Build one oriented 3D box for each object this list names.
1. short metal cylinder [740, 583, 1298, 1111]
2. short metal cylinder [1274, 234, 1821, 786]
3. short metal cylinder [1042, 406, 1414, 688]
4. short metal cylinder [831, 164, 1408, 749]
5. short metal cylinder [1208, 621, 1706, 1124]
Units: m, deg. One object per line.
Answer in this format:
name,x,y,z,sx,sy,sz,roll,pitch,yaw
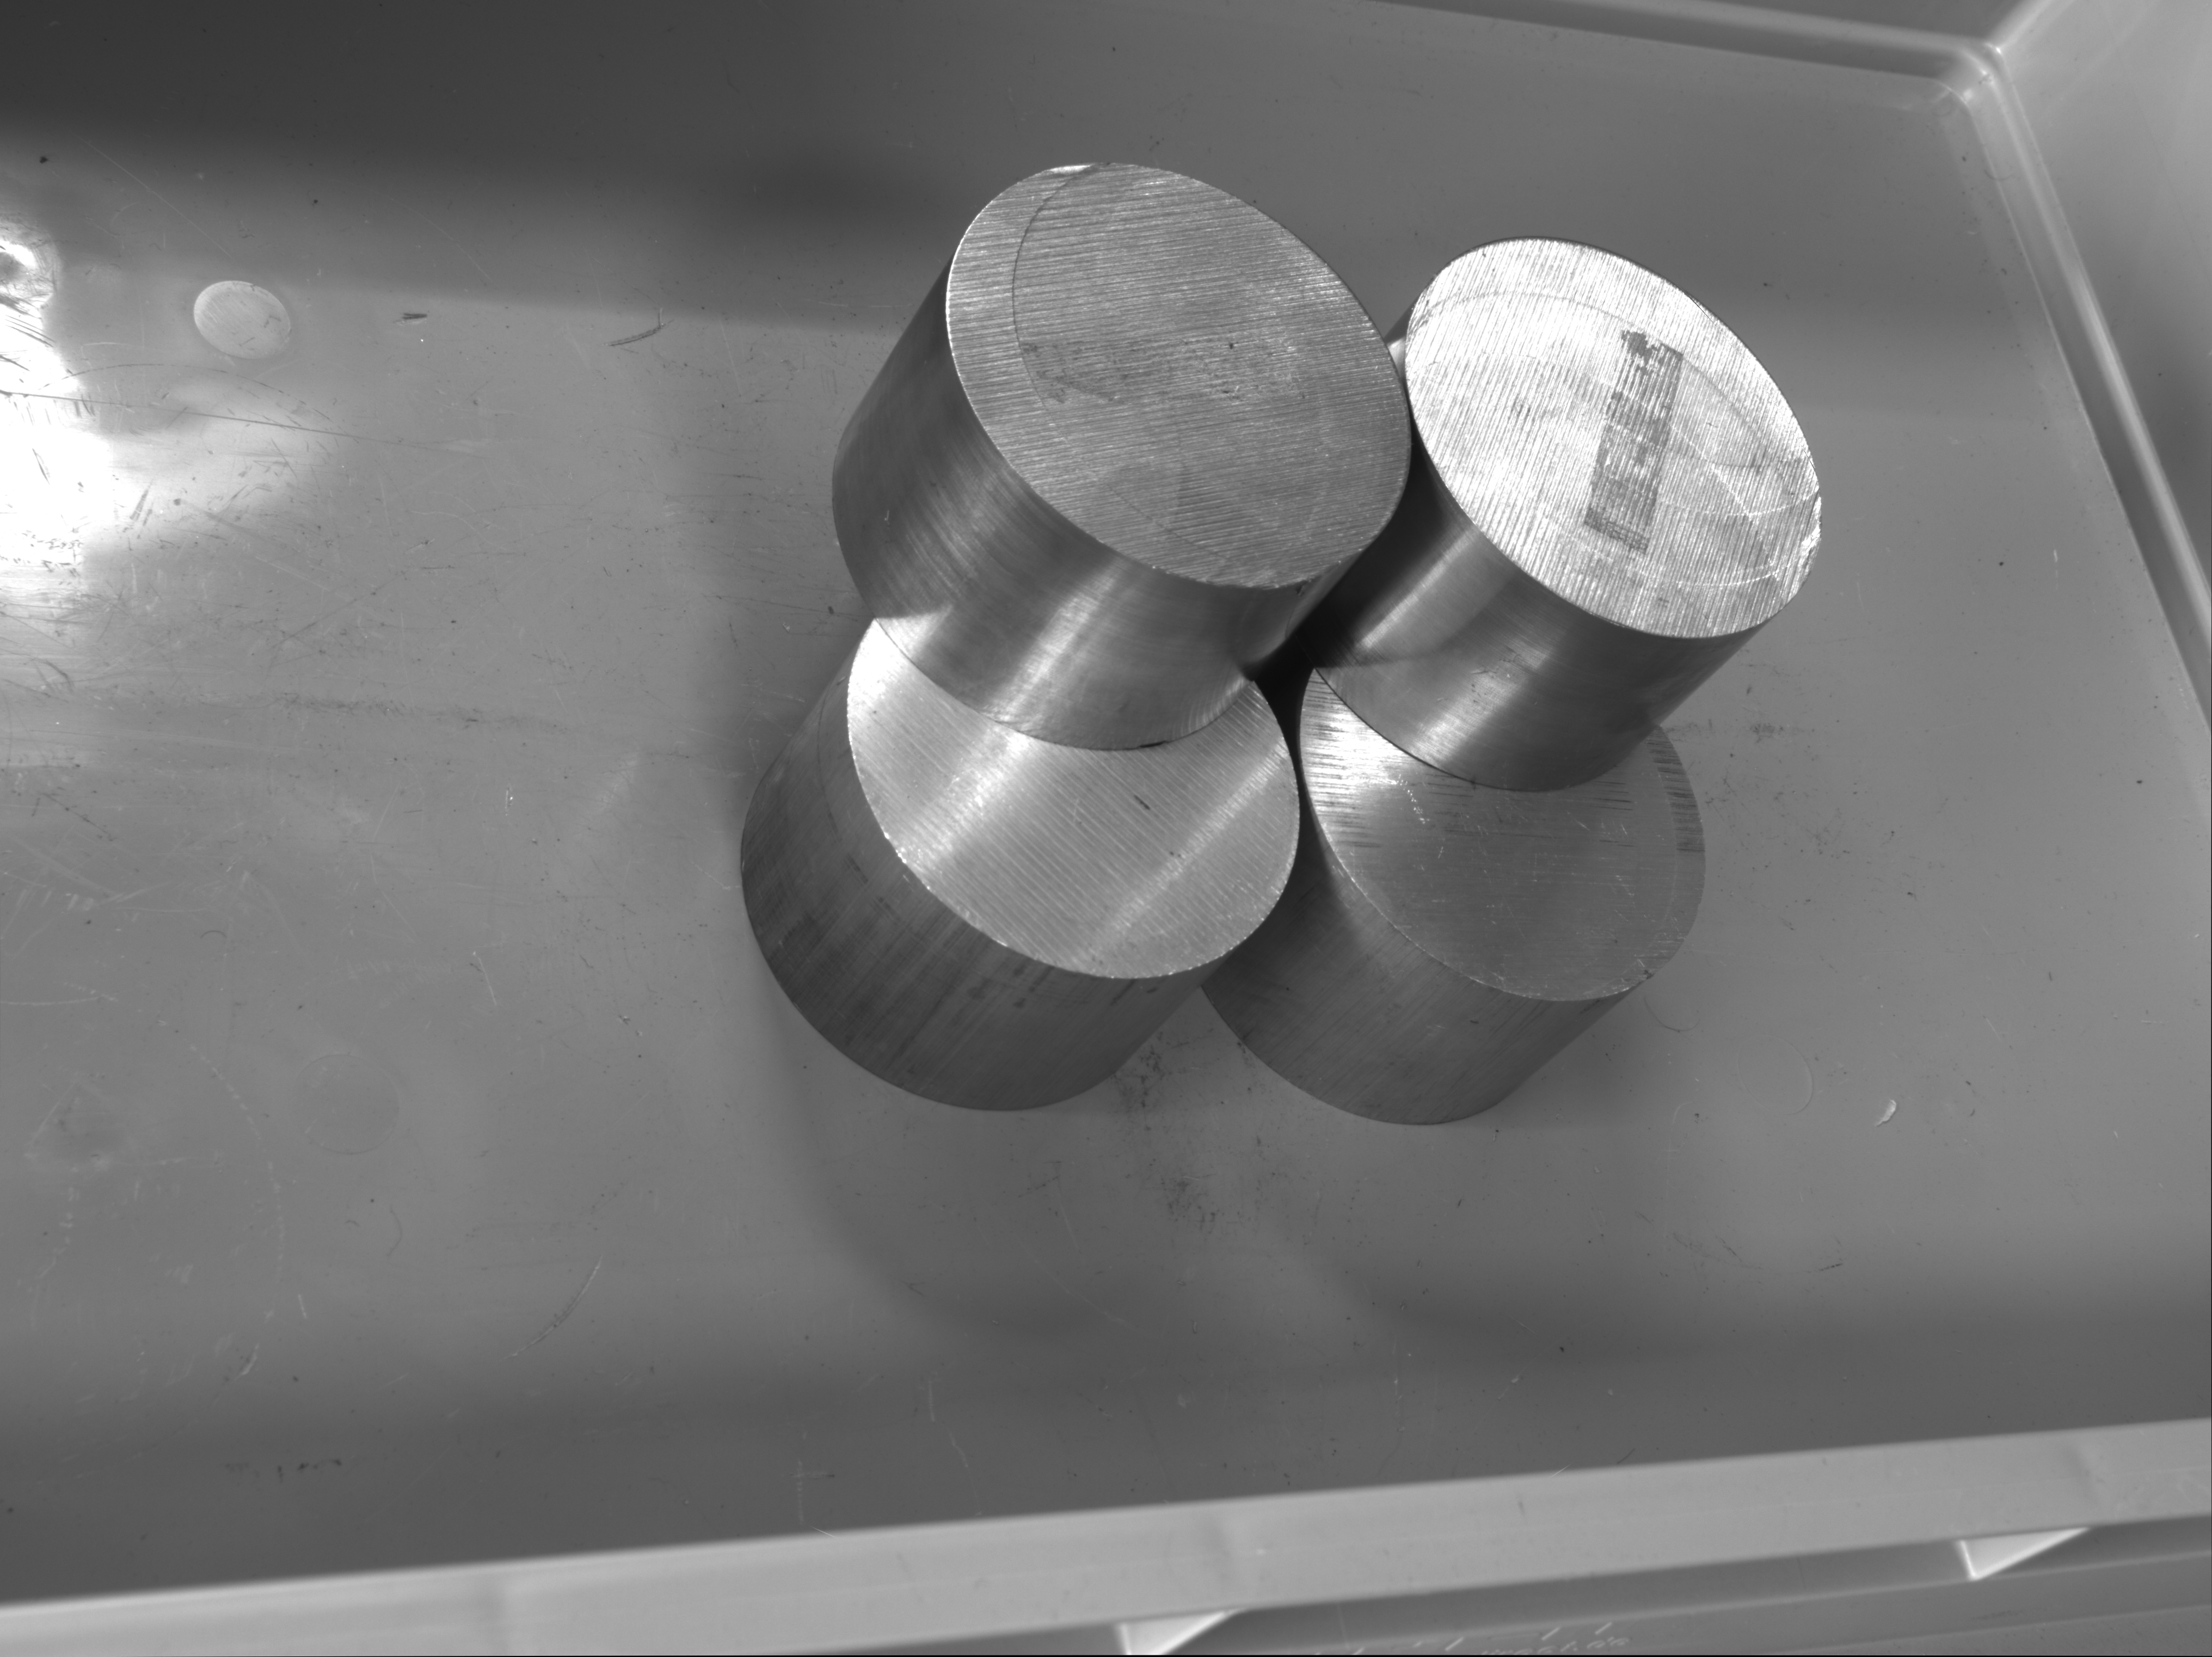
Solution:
short metal cylinder,-0.015,0.000,0.613,0.080,0.050,0.080,14,56,-21
short metal cylinder,0.075,-0.054,0.629,0.080,0.050,0.080,14,56,-21
short metal cylinder,0.010,-0.058,0.662,0.080,0.050,0.080,14,56,-21
short metal cylinder,0.002,-0.060,0.595,0.080,0.050,0.080,14,56,-21
short metal cylinder,0.059,0.005,0.649,0.080,0.050,0.080,14,56,-21
